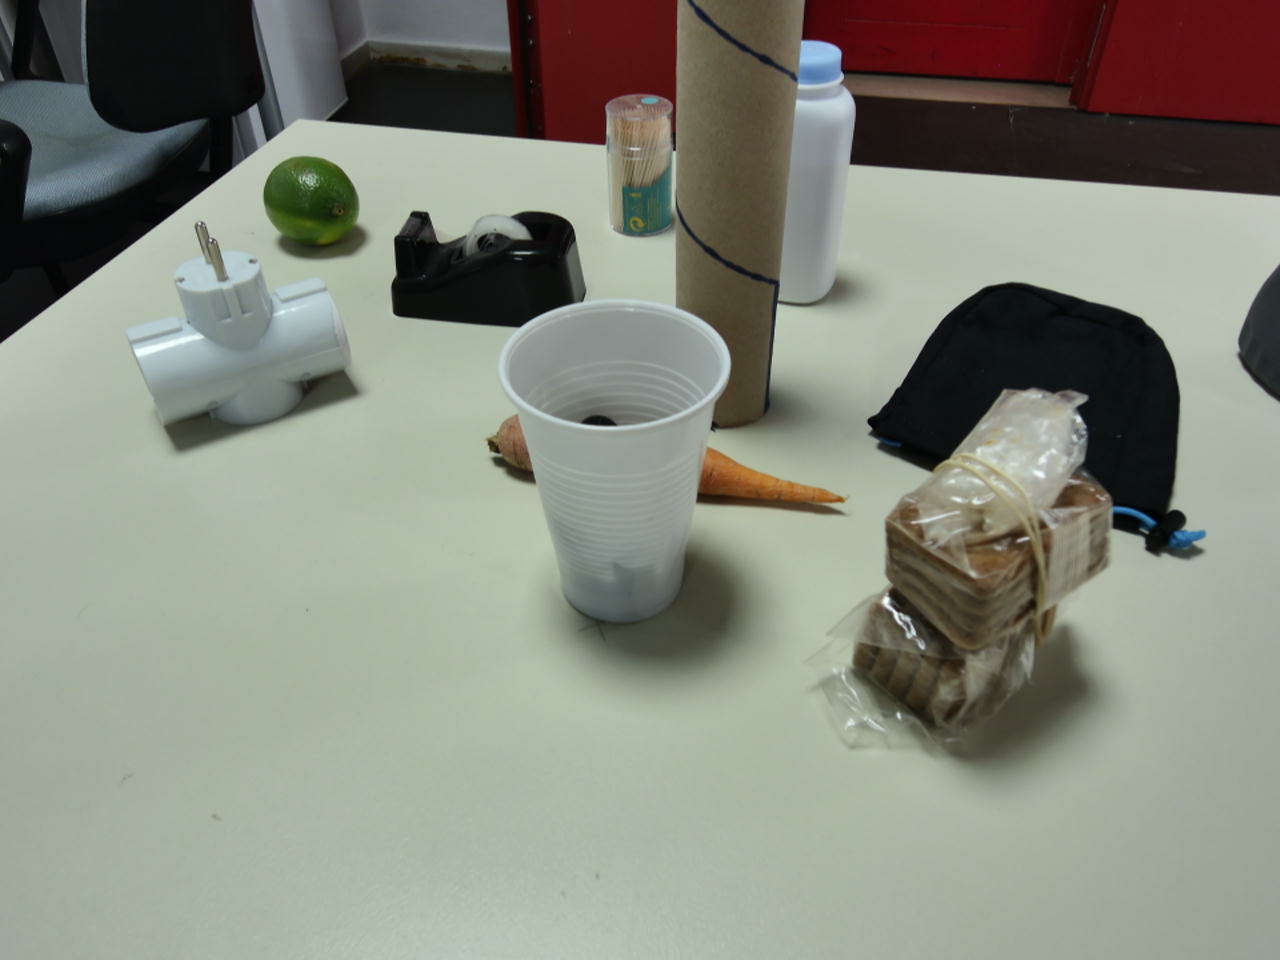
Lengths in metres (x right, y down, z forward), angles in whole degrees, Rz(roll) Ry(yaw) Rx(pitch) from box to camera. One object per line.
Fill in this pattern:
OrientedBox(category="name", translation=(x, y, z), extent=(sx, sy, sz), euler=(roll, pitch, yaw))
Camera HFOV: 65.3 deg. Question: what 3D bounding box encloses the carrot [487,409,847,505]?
OrientedBox(category="carrot", translation=(0.010, -0.010, 0.443), extent=(0.163, 0.029, 0.031), euler=(9, 39, 11))
